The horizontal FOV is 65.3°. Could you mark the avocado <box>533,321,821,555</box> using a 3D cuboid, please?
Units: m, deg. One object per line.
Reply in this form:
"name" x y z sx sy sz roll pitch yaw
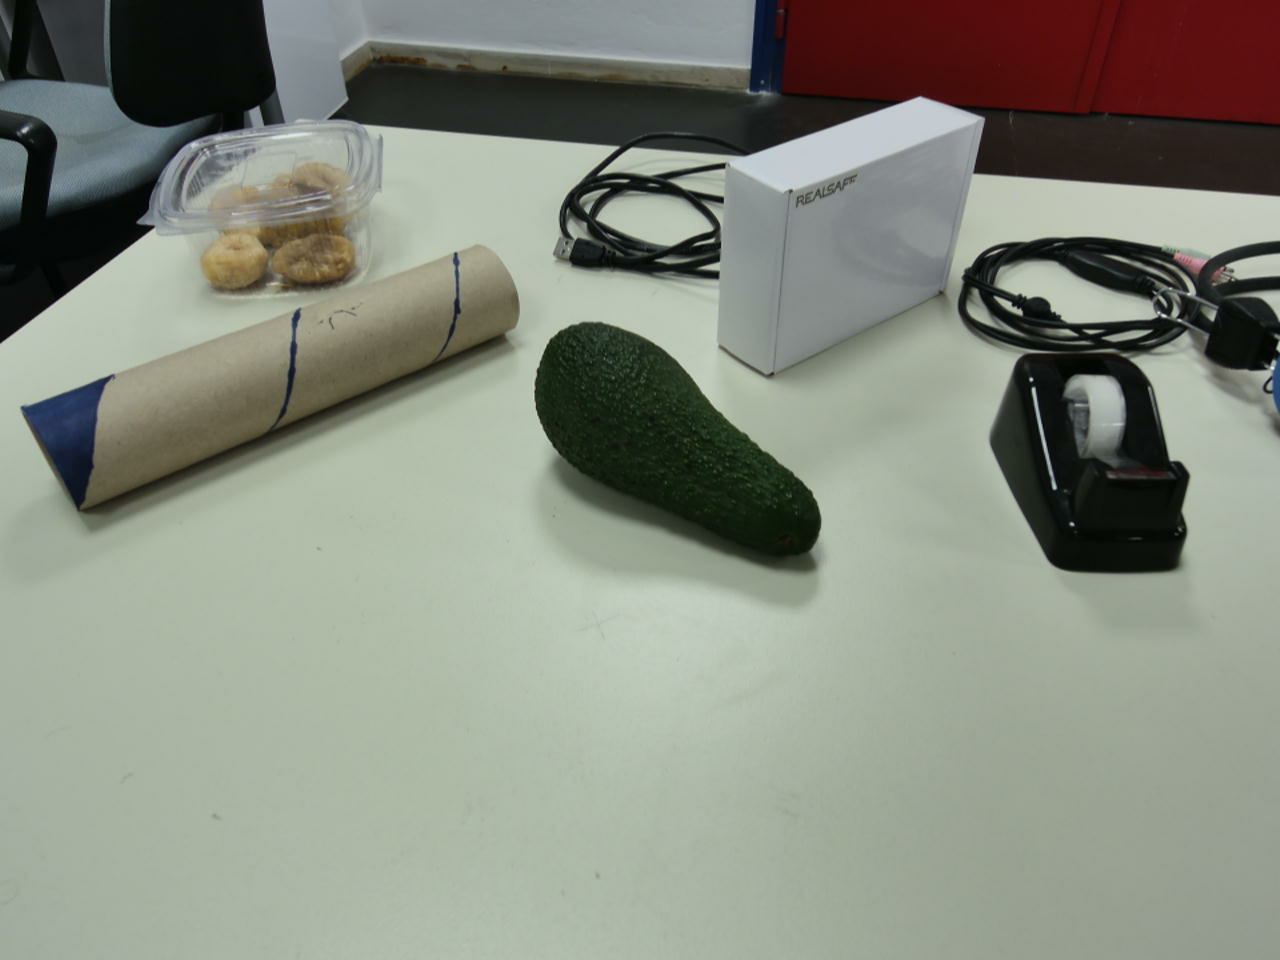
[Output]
"avocado" 0.016 -0.023 0.416 0.141 0.067 0.063 19 42 23
